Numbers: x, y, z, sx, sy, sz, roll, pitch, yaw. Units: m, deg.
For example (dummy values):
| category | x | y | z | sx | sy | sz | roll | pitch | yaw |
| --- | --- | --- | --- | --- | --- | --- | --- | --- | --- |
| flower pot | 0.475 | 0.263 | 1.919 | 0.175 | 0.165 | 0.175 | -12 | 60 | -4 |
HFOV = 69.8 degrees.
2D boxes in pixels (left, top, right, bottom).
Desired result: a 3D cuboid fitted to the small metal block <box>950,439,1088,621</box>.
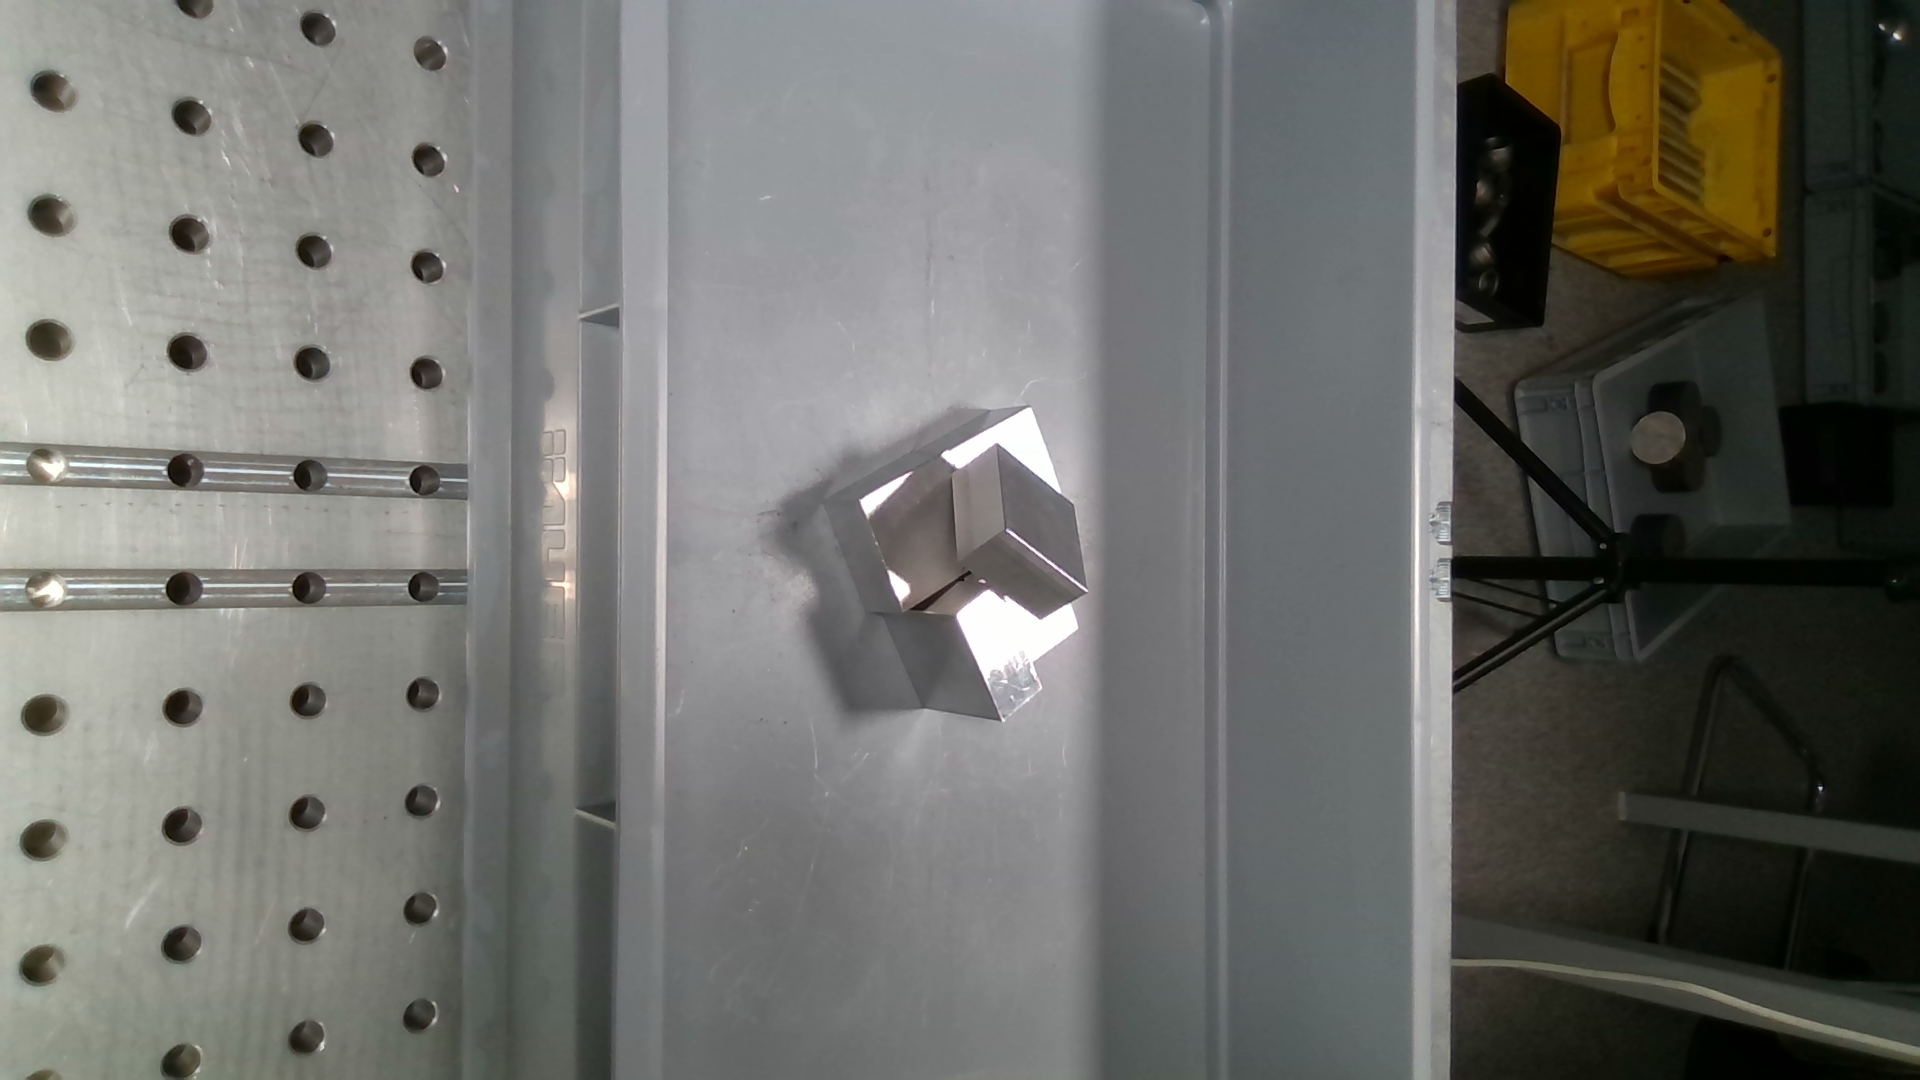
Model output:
| category | x | y | z | sx | sy | sz | roll | pitch | yaw |
| --- | --- | --- | --- | --- | --- | --- | --- | --- | --- |
| small metal block | 0.023 | -0.004 | 0.553 | 0.050 | 0.025 | 0.050 | 37 | 33 | -34 |

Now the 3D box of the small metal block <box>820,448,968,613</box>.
| category | x | y | z | sx | sy | sz | roll | pitch | yaw |
| --- | --- | --- | --- | --- | --- | --- | --- | --- | --- |
| small metal block | -0.023 | -0.004 | 0.563 | 0.050 | 0.025 | 0.050 | -32 | 110 | -36 |

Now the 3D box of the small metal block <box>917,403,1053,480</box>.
| category | x | y | z | sx | sy | sz | roll | pitch | yaw |
| --- | --- | --- | --- | --- | --- | --- | --- | --- | --- |
| small metal block | 0.012 | -0.025 | 0.592 | 0.050 | 0.025 | 0.050 | -32 | 110 | -36 |

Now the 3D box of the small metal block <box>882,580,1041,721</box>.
| category | x | y | z | sx | sy | sz | roll | pitch | yaw |
| --- | --- | --- | --- | --- | --- | --- | --- | --- | --- |
| small metal block | 0.000 | 0.044 | 0.565 | 0.025 | 0.050 | 0.050 | -36 | 113 | -35 |

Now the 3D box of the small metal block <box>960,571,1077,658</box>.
| category | x | y | z | sx | sy | sz | roll | pitch | yaw |
| --- | --- | --- | --- | --- | --- | --- | --- | --- | --- |
| small metal block | 0.018 | 0.027 | 0.597 | 0.050 | 0.025 | 0.050 | -32 | 110 | -36 |
